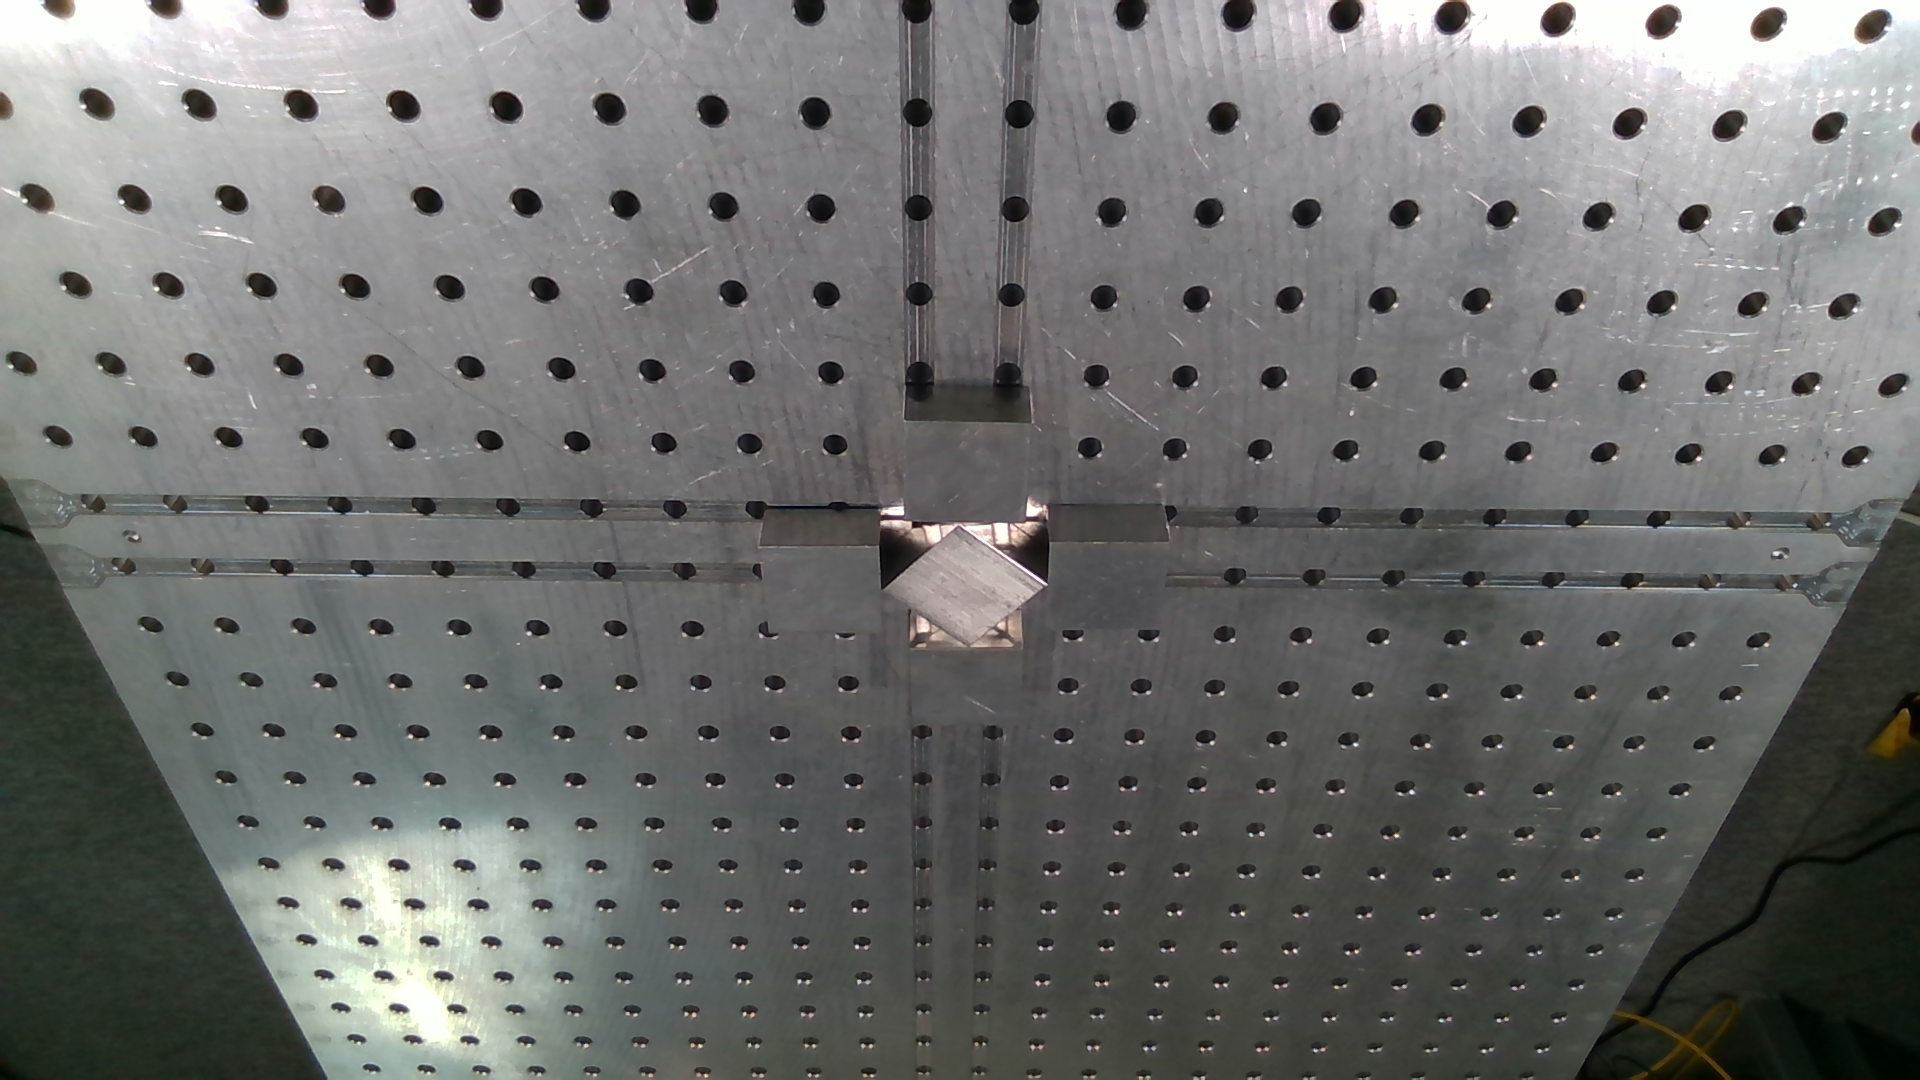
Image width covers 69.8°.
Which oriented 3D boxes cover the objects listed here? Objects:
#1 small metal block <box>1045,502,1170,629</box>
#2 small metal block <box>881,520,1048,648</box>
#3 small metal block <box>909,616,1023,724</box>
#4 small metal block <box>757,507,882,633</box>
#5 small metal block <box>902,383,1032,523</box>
[{"bbox_3d":[0.062,0.011,0.592,0.050,0.025,0.050,-1,130,0],"label":"small metal block"},{"bbox_3d":[0.002,0.012,0.592,0.050,0.025,0.050,35,122,-26],"label":"small metal block"},{"bbox_3d":[0.003,0.058,0.631,0.050,0.025,0.050,0,130,0],"label":"small metal block"},{"bbox_3d":[-0.059,0.013,0.593,0.050,0.025,0.050,0,130,0],"label":"small metal block"},{"bbox_3d":[0.002,-0.035,0.553,0.050,0.025,0.050,1,130,-1],"label":"small metal block"}]
